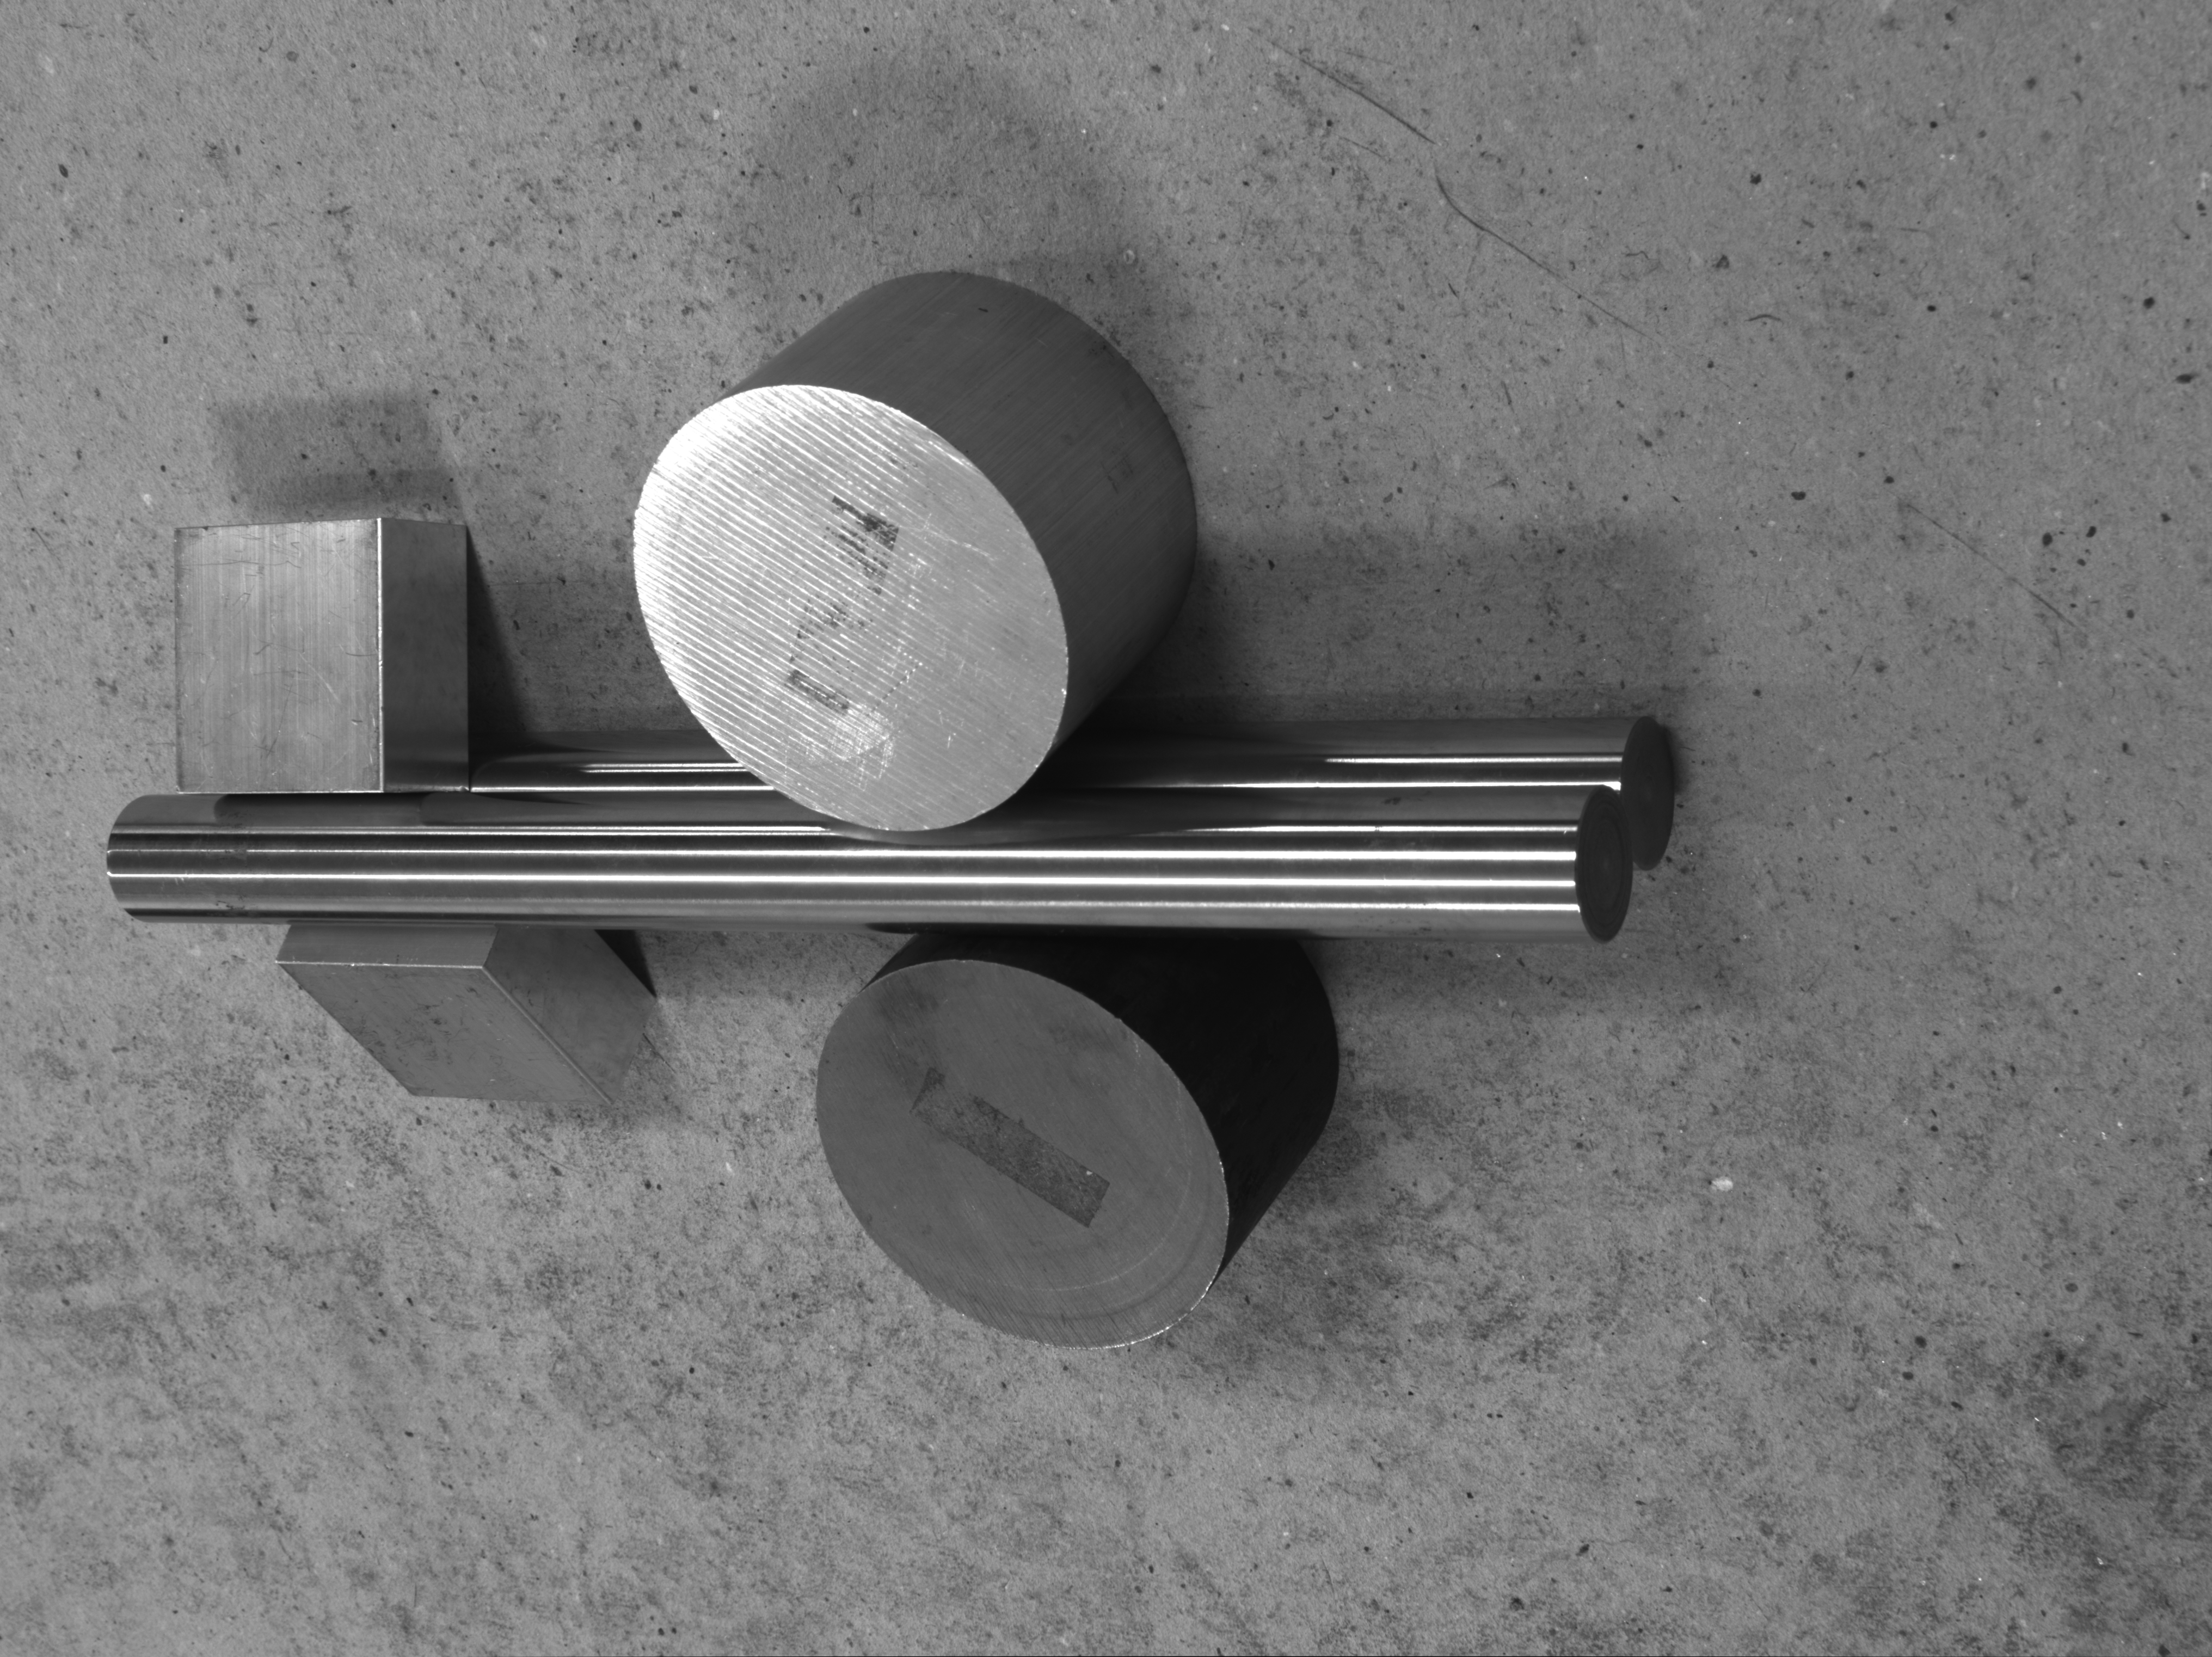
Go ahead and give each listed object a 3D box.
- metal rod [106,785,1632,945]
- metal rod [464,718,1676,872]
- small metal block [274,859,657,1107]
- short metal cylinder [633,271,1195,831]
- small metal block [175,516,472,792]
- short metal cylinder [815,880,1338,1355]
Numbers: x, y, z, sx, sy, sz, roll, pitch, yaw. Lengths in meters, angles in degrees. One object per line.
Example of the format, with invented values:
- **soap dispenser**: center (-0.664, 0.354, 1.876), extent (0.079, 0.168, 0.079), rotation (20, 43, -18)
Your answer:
- **metal rod**: center (-0.054, 0.005, 0.643), extent (0.299, 0.025, 0.025), rotation (0, 118, 28)
- **metal rod**: center (-0.044, -0.006, 0.663), extent (0.299, 0.025, 0.025), rotation (0, 118, 28)
- **small metal block**: center (-0.124, 0.030, 0.715), extent (0.050, 0.025, 0.050), rotation (0, 145, 28)
- **short metal cylinder**: center (-0.032, -0.047, 0.615), extent (0.080, 0.050, 0.080), rotation (13, 124, 21)
- **small metal block**: center (-0.147, -0.032, 0.691), extent (0.050, 0.025, 0.050), rotation (0, 91, 29)
- **short metal cylinder**: center (-0.005, 0.047, 0.658), extent (0.080, 0.050, 0.080), rotation (13, 124, 21)
